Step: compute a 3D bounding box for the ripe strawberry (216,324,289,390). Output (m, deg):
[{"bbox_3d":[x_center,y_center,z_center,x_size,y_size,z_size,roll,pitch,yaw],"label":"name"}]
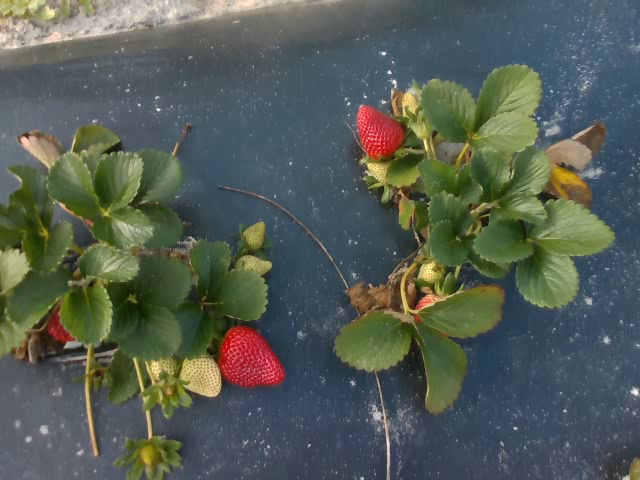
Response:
[{"bbox_3d":[-0.051,0.100,0.482,0.055,0.051,0.048,31,25,28],"label":"ripe strawberry"}]
